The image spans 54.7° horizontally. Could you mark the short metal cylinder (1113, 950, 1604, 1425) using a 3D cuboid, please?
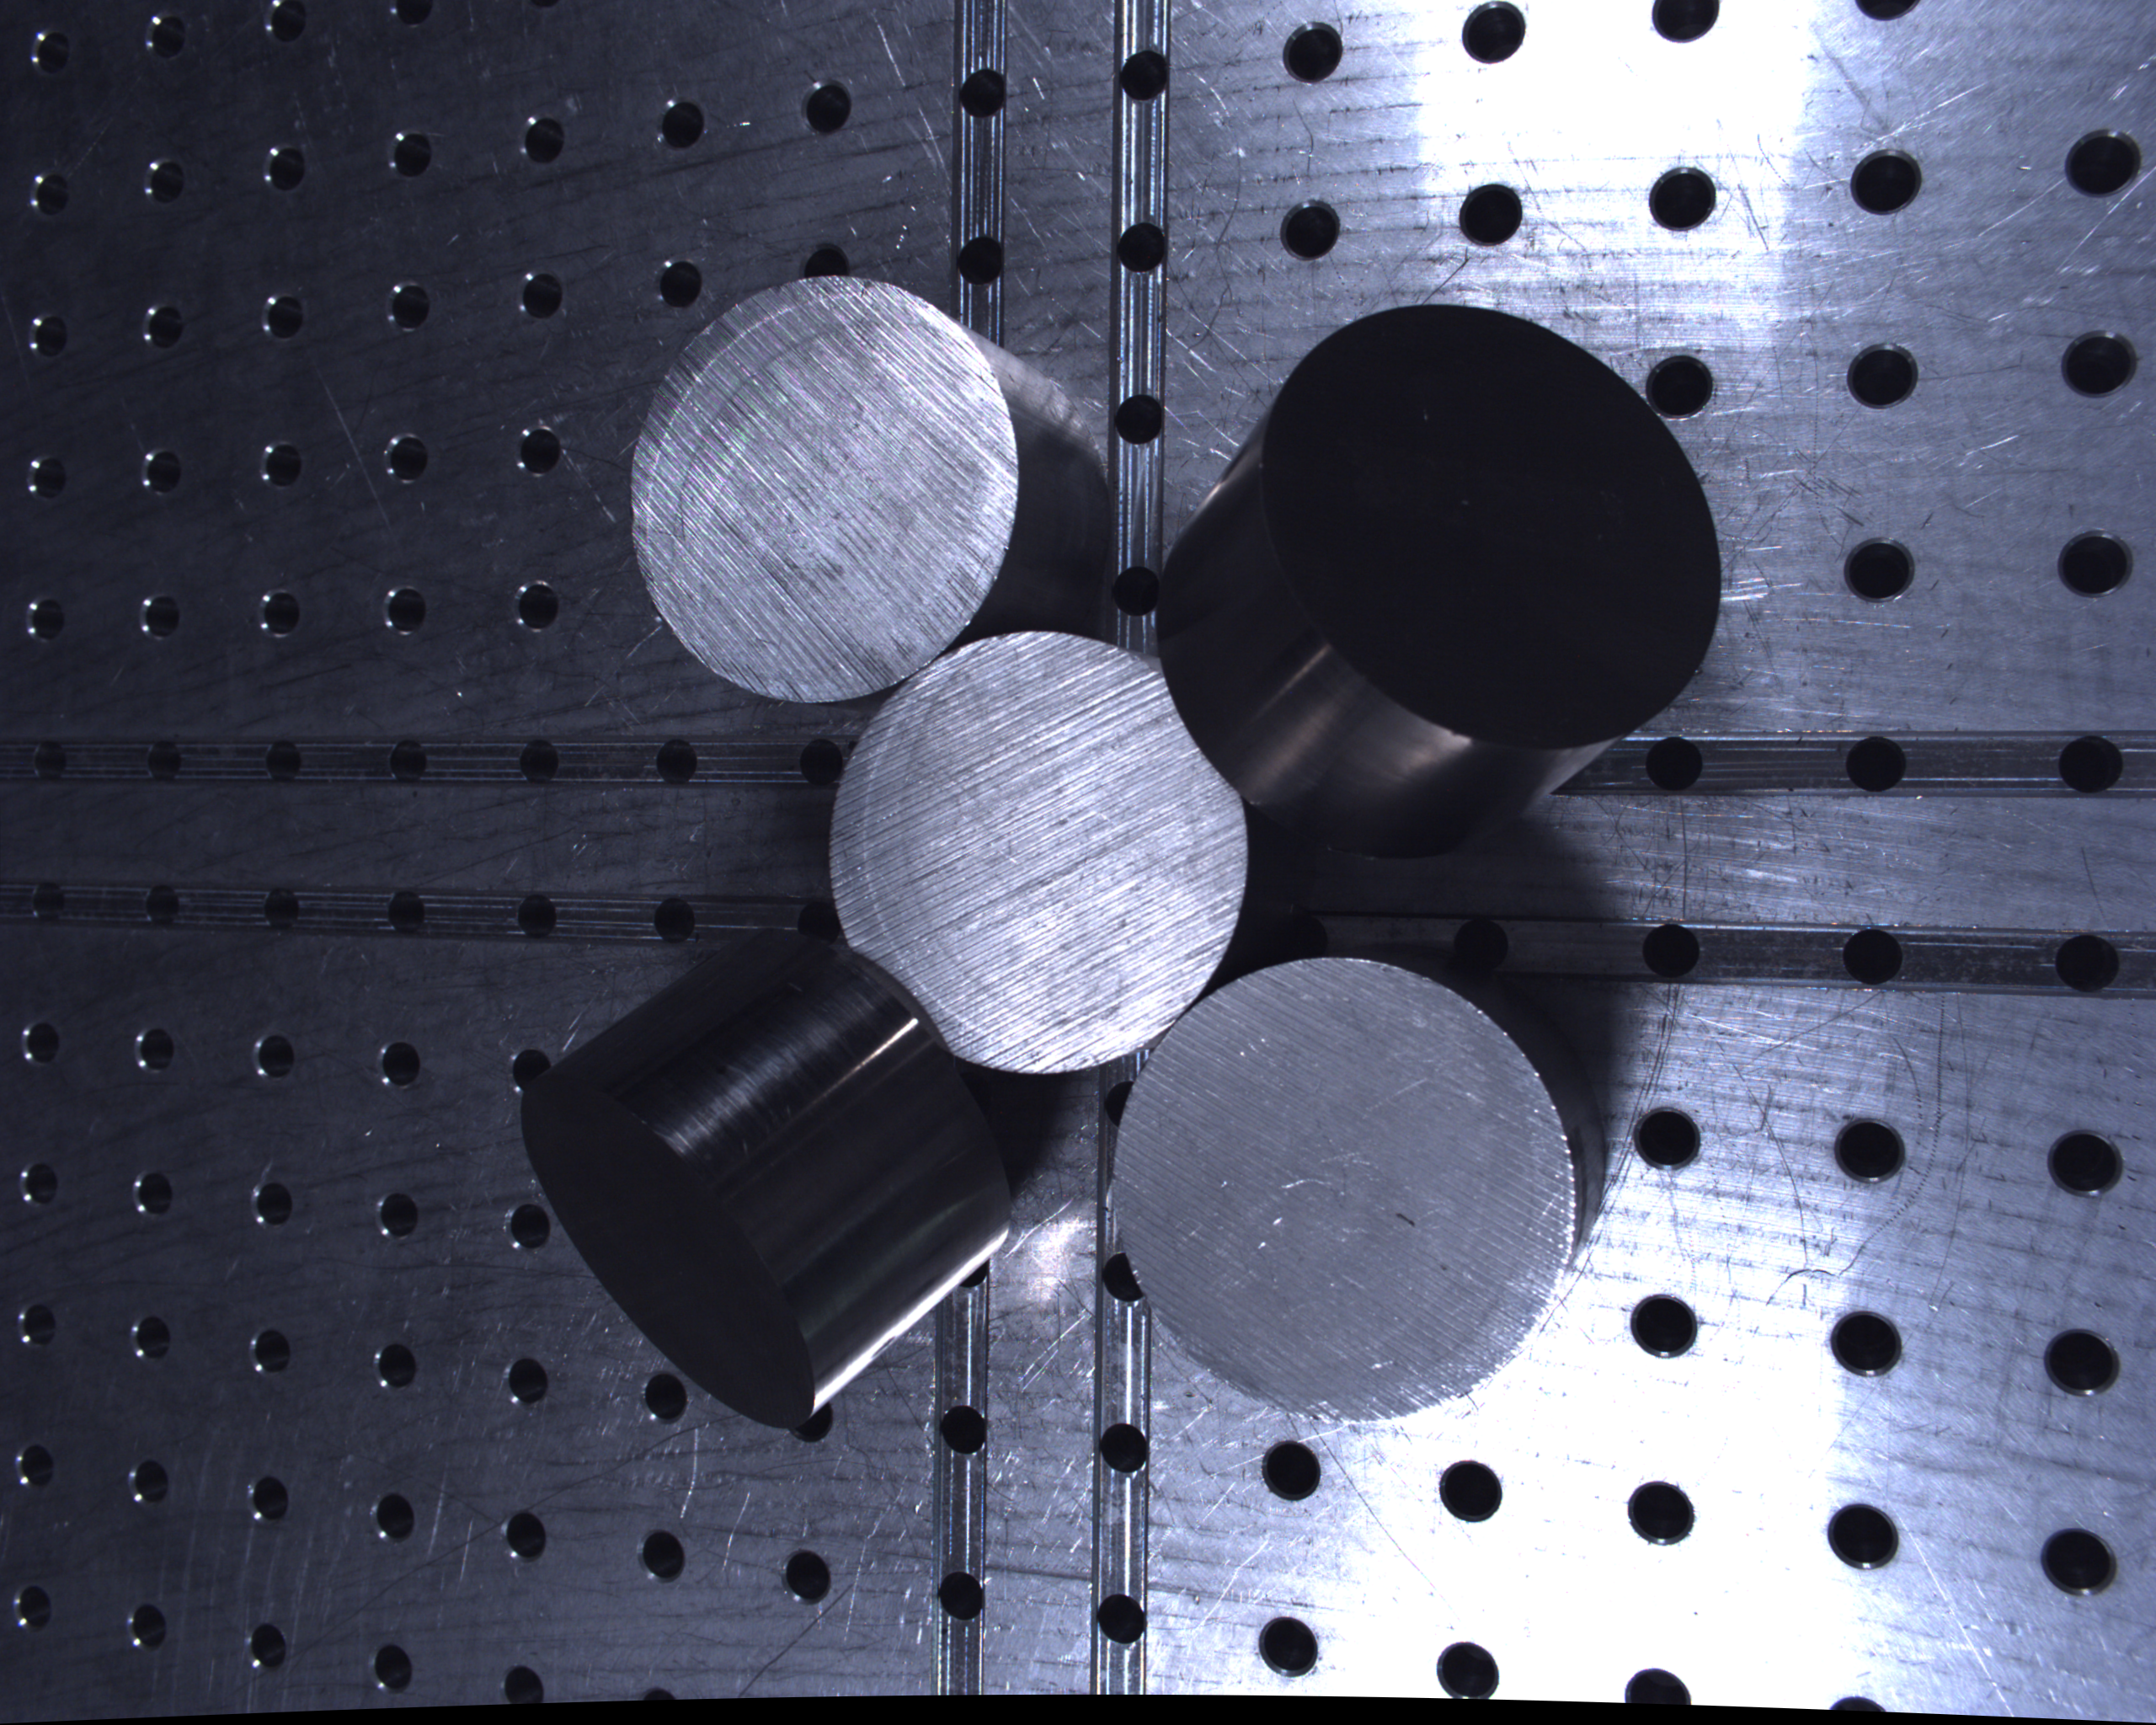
[{"bbox_3d":[0.053,0.056,0.380,0.080,0.050,0.079,0,90,19],"label":"short metal cylinder"}]

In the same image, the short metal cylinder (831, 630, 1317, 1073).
[{"bbox_3d":[0.000,-0.002,0.398,0.080,0.050,0.079,0,90,19],"label":"short metal cylinder"}]

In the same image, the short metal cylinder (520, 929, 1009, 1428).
[{"bbox_3d":[-0.060,0.060,0.397,0.080,0.050,0.079,30,140,29],"label":"short metal cylinder"}]

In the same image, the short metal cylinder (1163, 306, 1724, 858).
[{"bbox_3d":[0.061,-0.046,0.356,0.081,0.050,0.080,6,68,-16],"label":"short metal cylinder"}]

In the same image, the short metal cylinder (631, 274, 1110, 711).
[{"bbox_3d":[-0.040,-0.070,0.412,0.080,0.050,0.079,0,90,19],"label":"short metal cylinder"}]
